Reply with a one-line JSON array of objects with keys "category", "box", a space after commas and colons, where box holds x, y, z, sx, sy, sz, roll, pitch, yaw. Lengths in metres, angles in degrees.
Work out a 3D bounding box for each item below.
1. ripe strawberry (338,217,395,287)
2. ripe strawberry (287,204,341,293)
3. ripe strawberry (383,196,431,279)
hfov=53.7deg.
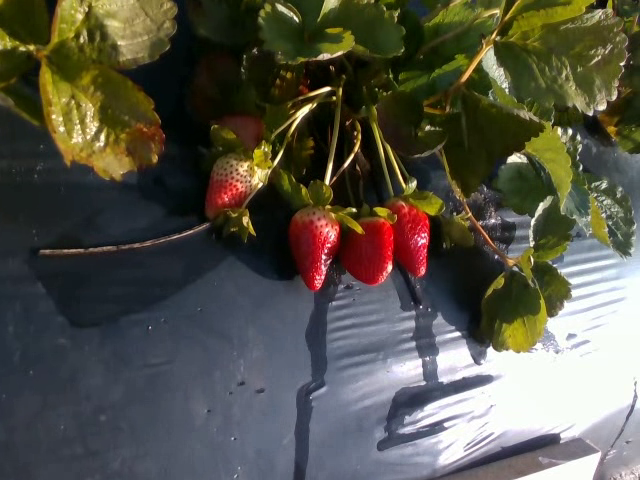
[{"category": "ripe strawberry", "box": [0.027, 0.006, 0.323, 0.030, 0.037, 0.039, 11, 38, -32]}, {"category": "ripe strawberry", "box": [-0.002, 0.005, 0.315, 0.031, 0.046, 0.023, -1, 3, -29]}, {"category": "ripe strawberry", "box": [0.050, 0.005, 0.341, 0.035, 0.041, 0.034, -5, -31, -28]}]
